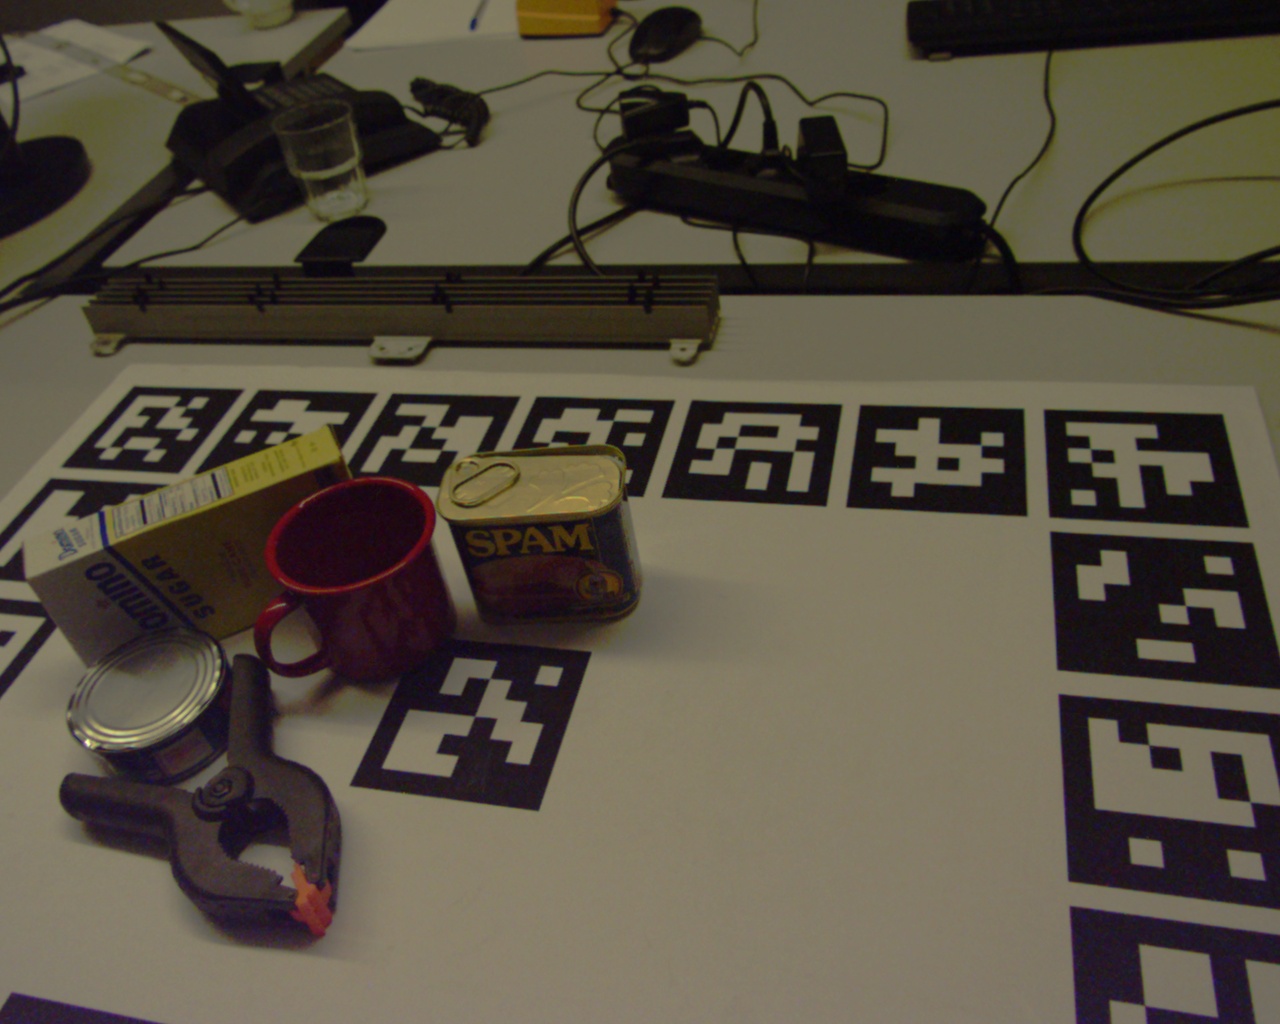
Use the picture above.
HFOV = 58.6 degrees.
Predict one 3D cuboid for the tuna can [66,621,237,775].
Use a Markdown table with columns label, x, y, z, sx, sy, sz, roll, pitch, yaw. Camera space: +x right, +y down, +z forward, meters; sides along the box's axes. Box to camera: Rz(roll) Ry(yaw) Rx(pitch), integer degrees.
| label | x | y | z | sx | sy | sz | roll | pitch | yaw |
| --- | --- | --- | --- | --- | --- | --- | --- | --- | --- |
| tuna can | -0.273 | 0.105 | 0.642 | 0.086 | 0.033 | 0.086 | -7 | 44 | 6 |

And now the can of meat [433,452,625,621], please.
| label | x | y | z | sx | sy | sz | roll | pitch | yaw |
| --- | --- | --- | --- | --- | --- | --- | --- | --- | --- |
| can of meat | -0.061 | 0.016 | 0.665 | 0.102 | 0.083 | 0.058 | -2 | 42 | 7 |

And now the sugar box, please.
| label | x | y | z | sx | sy | sz | roll | pitch | yaw |
| --- | --- | --- | --- | --- | --- | --- | --- | --- | --- |
| sugar box | -0.256 | 0.028 | 0.687 | 0.175 | 0.092 | 0.046 | -23 | 42 | -15 |

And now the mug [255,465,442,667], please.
| label | x | y | z | sx | sy | sz | roll | pitch | yaw |
| --- | --- | --- | --- | --- | --- | --- | --- | --- | --- |
| mug | -0.169 | 0.041 | 0.651 | 0.094 | 0.081 | 0.116 | 23 | 54 | 31 |

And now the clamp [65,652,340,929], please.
| label | x | y | z | sx | sy | sz | roll | pitch | yaw |
| --- | --- | --- | --- | --- | --- | --- | --- | --- | --- |
| clamp | -0.208 | 0.150 | 0.587 | 0.121 | 0.036 | 0.167 | -34 | 51 | -29 |
